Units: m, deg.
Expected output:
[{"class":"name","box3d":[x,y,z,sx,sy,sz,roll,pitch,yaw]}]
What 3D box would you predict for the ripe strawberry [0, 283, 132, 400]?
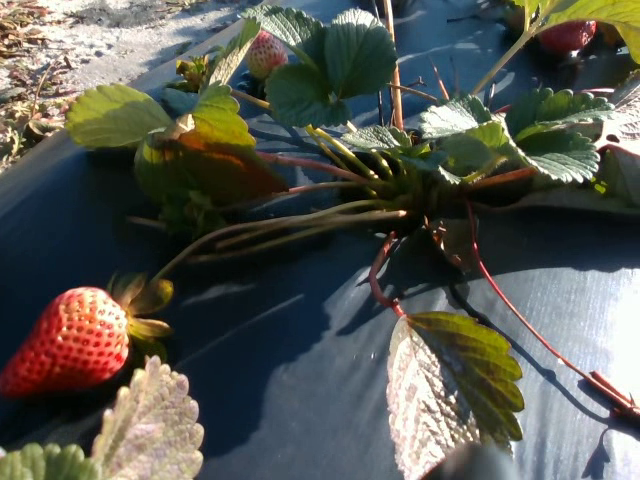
[{"class":"ripe strawberry","box3d":[-0.098,0.040,0.223,0.045,0.043,0.064,-28,10,46]}]
